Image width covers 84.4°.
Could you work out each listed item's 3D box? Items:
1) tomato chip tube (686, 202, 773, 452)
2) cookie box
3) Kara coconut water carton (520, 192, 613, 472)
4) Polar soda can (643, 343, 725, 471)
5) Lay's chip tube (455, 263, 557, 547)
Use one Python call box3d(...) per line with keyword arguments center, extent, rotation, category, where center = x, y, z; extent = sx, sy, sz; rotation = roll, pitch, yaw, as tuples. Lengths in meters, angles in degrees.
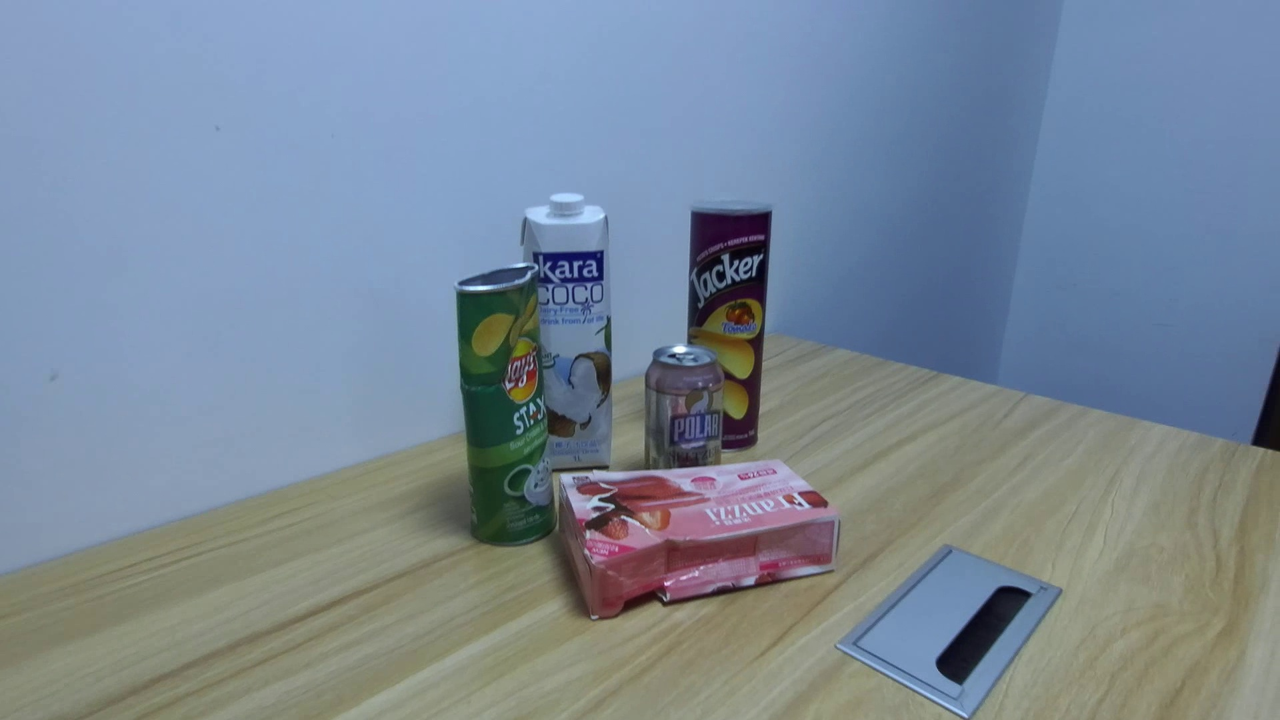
box3d(center=(0.084, -0.032, 0.690), extent=(0.078, 0.234, 0.078), rotation=(0, 17, 0), category="tomato chip tube")
box3d(center=(0.040, 0.116, 0.511), extent=(0.186, 0.059, 0.104), rotation=(-5, 21, -19), category="cookie box")
box3d(center=(-0.064, -0.025, 0.645), extent=(0.077, 0.245, 0.075), rotation=(-3, 17, -7), category="Kara coconut water carton")
box3d(center=(0.038, 0.052, 0.605), extent=(0.067, 0.125, 0.067), rotation=(0, 19, 0), category="Polar soda can")
box3d(center=(-0.101, 0.036, 0.539), extent=(0.069, 0.199, 0.074), rotation=(-6, 18, -18), category="Lay's chip tube")
